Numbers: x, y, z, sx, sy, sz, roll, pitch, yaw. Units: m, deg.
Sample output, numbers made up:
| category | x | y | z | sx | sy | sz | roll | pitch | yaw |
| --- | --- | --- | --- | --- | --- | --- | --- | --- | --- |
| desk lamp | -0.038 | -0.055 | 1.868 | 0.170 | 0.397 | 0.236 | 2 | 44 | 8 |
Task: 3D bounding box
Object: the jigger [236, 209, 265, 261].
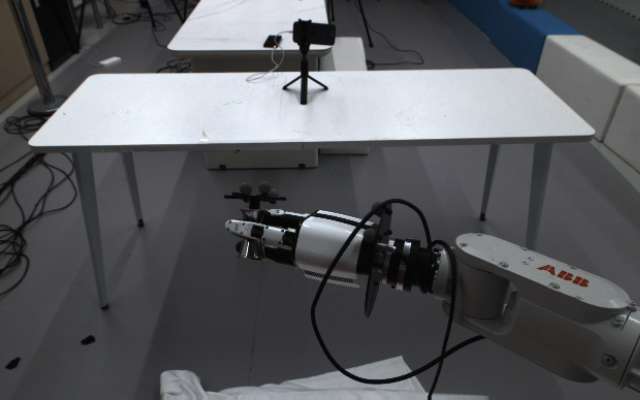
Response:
| category | x | y | z | sx | sy | sz | roll | pitch | yaw |
| --- | --- | --- | --- | --- | --- | --- | --- | --- | --- |
| jigger | -0.094 | 0.047 | 0.685 | 0.043 | 0.071 | 0.043 | 2 | -6 | 0 |
